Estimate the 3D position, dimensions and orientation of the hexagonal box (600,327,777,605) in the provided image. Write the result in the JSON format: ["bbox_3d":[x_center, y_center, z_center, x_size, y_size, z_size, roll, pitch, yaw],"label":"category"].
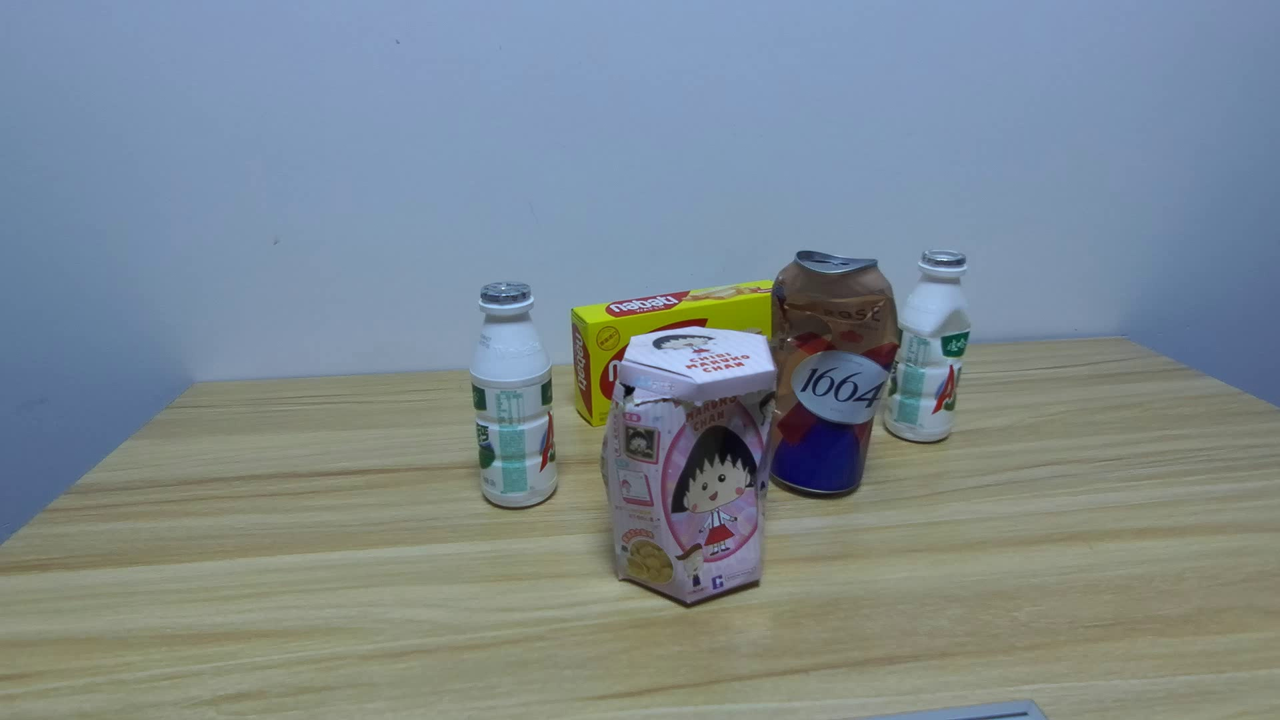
[{"bbox_3d":[0.028,0.056,0.400,0.091,0.134,0.090,5,20,14],"label":"hexagonal box"}]

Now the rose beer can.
[{"bbox_3d":[0.124,0.010,0.476,0.074,0.162,0.068,-2,21,-8],"label":"rose beer can"}]

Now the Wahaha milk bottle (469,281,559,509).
[{"bbox_3d":[-0.083,0.024,0.466,0.053,0.147,0.053,-1,21,1],"label":"Wahaha milk bottle"}]

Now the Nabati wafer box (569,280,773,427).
[{"bbox_3d":[0.044,-0.008,0.616,0.203,0.093,0.042,-10,22,-22],"label":"Nabati wafer box"}]
